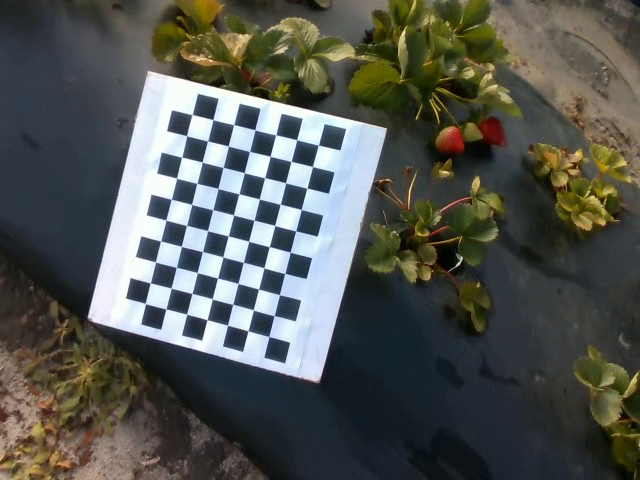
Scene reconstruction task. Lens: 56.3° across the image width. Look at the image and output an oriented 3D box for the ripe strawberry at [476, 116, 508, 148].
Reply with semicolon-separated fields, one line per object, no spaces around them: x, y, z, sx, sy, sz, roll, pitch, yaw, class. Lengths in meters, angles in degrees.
0.282;-0.171;0.953;0.048;0.065;0.050;-35;-6;6;ripe strawberry
